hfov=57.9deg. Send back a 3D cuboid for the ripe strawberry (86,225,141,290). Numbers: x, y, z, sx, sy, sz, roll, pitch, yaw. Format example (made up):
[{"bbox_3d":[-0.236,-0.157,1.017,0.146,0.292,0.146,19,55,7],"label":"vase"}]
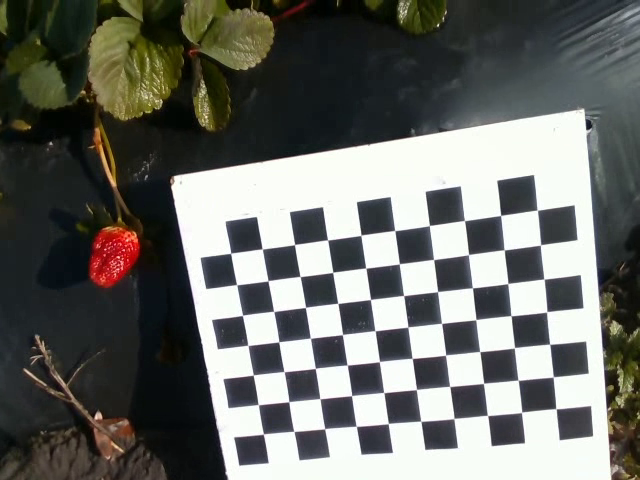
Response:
[{"bbox_3d":[-0.057,0.004,0.154,0.015,0.023,0.015,0,-41,6],"label":"ripe strawberry"}]
